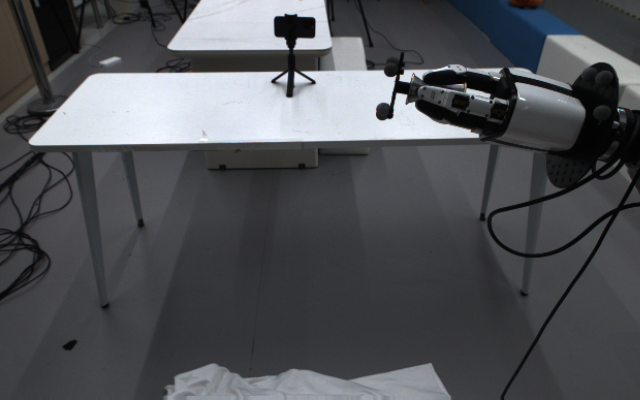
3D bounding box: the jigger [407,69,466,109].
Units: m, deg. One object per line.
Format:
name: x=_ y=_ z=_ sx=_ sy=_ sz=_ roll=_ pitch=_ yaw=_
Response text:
jigger: x=0.150 y=-0.141 z=0.620 sx=0.071 sy=0.043 sz=0.043 roll=12 pitch=36 yaw=5
